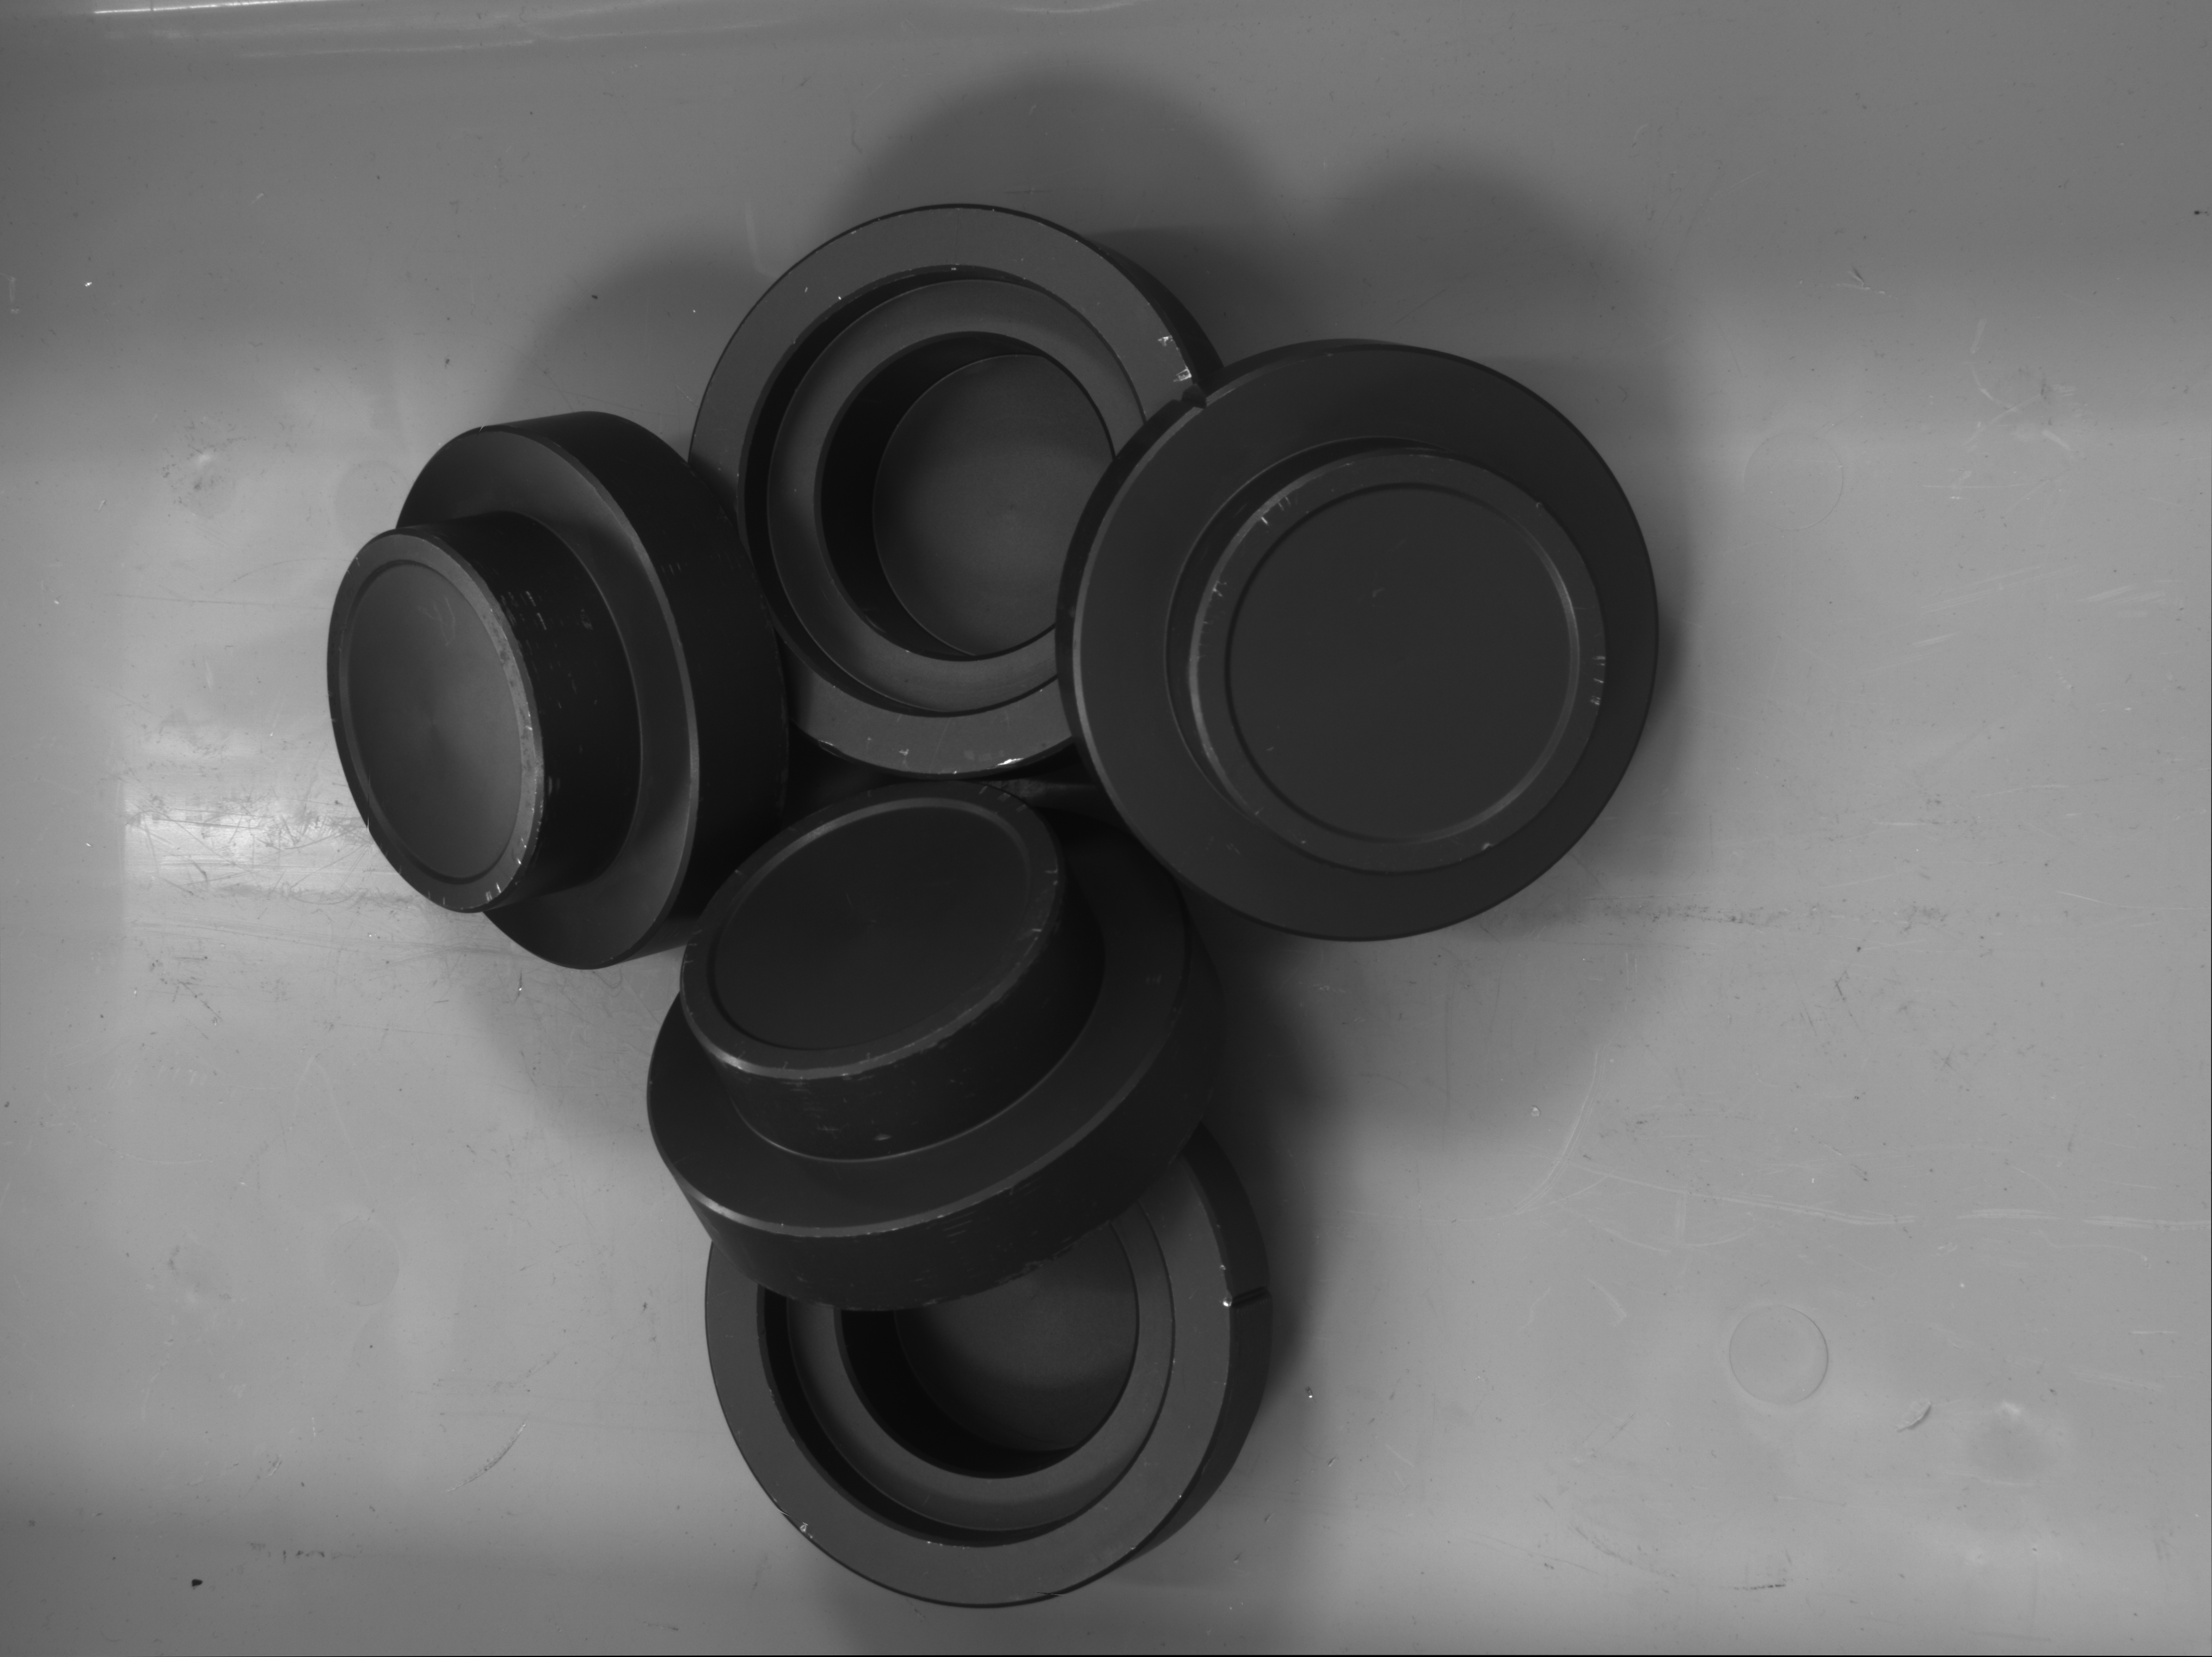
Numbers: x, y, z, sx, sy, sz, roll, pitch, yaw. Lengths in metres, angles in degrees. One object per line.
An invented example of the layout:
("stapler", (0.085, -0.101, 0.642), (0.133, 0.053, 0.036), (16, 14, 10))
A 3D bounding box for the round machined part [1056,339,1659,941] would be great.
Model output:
("round machined part", (0.043, -0.029, 0.596), (0.098, 0.042, 0.098), (-2, 101, -10))

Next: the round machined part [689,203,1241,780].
("round machined part", (-0.021, -0.057, 0.642), (0.098, 0.042, 0.098), (0, 90, 20))

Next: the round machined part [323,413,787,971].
("round machined part", (-0.103, -0.022, 0.650), (0.098, 0.042, 0.098), (17, 113, 44))

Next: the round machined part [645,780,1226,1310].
("round machined part", (-0.033, 0.030, 0.617), (0.098, 0.098, 0.042), (-7, 132, 20))

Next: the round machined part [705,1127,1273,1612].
("round machined part", (-0.017, 0.084, 0.641), (0.098, 0.042, 0.098), (0, 90, 20))
